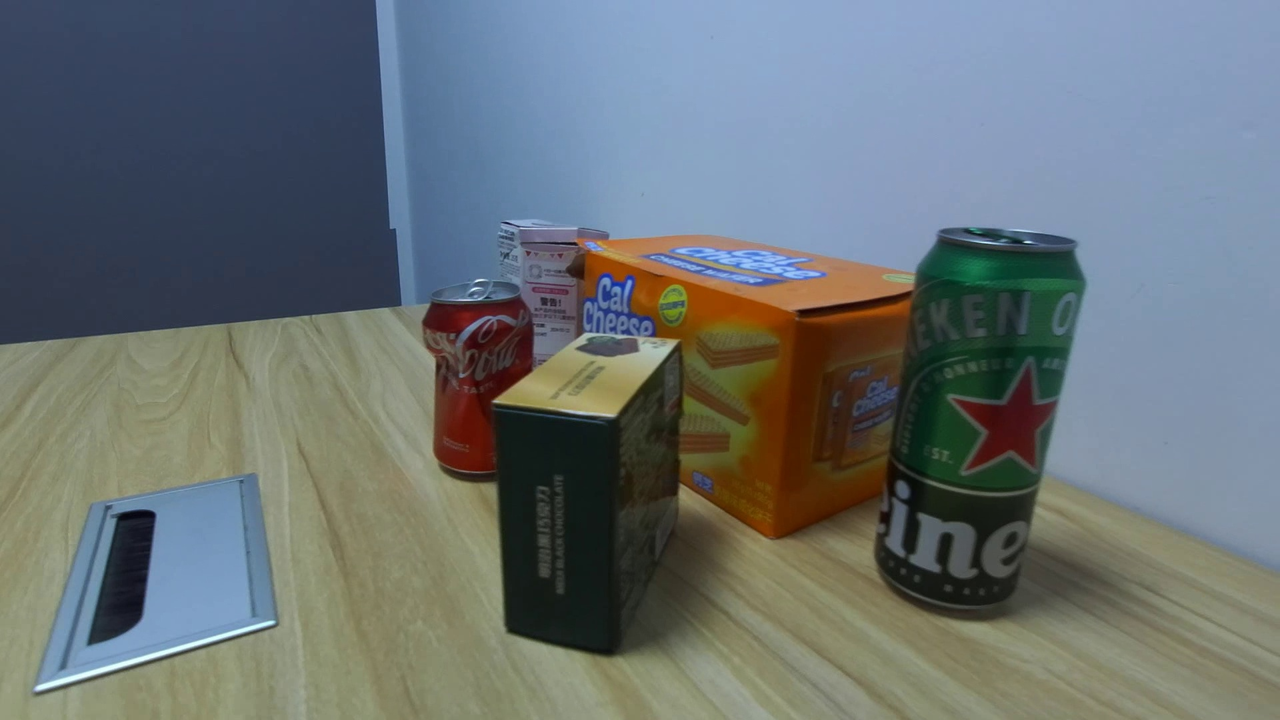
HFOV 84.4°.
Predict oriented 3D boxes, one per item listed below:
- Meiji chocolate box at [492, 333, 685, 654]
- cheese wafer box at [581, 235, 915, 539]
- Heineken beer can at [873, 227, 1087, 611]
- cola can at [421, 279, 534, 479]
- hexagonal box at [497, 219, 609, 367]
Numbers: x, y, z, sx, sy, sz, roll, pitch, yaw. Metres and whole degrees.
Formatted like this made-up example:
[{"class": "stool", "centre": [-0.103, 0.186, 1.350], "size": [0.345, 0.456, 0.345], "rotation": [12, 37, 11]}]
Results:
[{"class": "Meiji chocolate box", "centre": [-0.020, 0.056, 0.355], "size": [0.056, 0.109, 0.110], "rotation": [6, 21, 18]}, {"class": "cheese wafer box", "centre": [0.067, -0.005, 0.476], "size": [0.150, 0.137, 0.226], "rotation": [-11, 22, -34]}, {"class": "Heineken beer can", "centre": [0.157, 0.034, 0.338], "size": [0.067, 0.169, 0.067], "rotation": [5, 10, -1]}, {"class": "cola can", "centre": [-0.101, 0.008, 0.449], "size": [0.066, 0.117, 0.066], "rotation": [22, 28, 40]}, {"class": "hexagonal box", "centre": [-0.070, -0.047, 0.591], "size": [0.092, 0.135, 0.085], "rotation": [3, 16, 5]}]
